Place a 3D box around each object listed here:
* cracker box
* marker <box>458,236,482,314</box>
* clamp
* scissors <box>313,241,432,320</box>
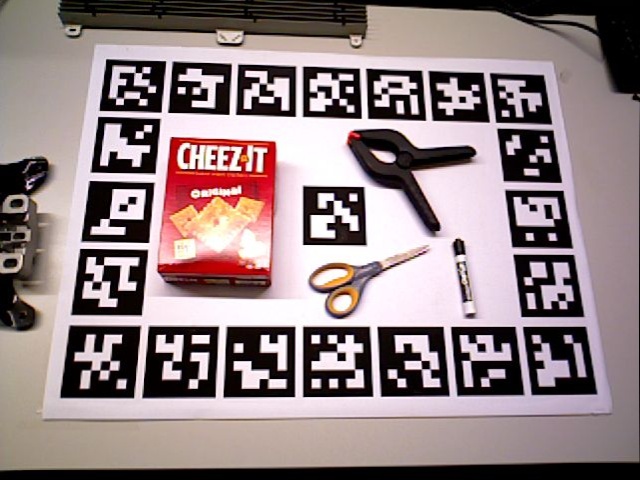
[{"bbox_3d":[-0.144,-0.046,0.809,0.163,0.073,0.212,2,71,-3],"label":"cracker box"},{"bbox_3d":[0.226,0.051,0.824,0.019,0.020,0.120,-2,71,-5],"label":"marker"},{"bbox_3d":[0.133,-0.131,0.885,0.202,0.037,0.163,30,71,6],"label":"clamp"},{"bbox_3d":[0.085,0.044,0.819,0.200,0.016,0.087,-27,74,-14],"label":"scissors"}]
